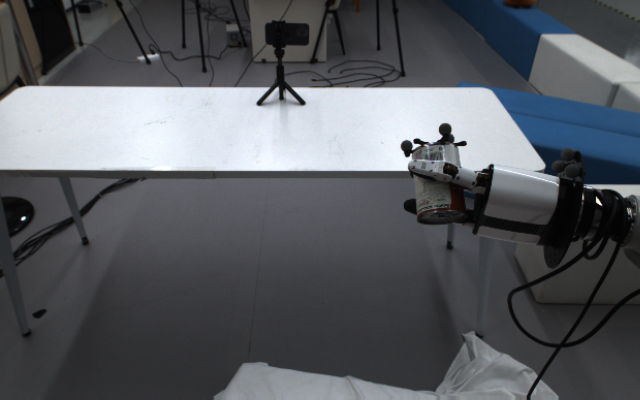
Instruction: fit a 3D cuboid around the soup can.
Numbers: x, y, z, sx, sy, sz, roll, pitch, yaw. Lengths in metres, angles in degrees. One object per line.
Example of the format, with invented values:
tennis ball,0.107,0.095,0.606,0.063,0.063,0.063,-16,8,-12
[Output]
soup can,0.166,-0.025,0.682,0.067,0.067,0.101,0,72,-4
